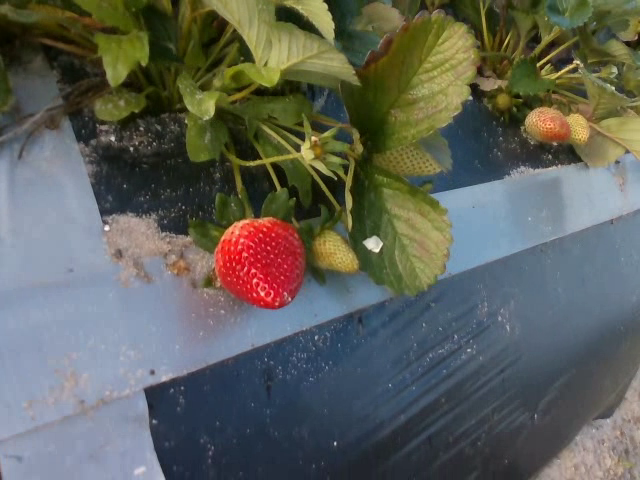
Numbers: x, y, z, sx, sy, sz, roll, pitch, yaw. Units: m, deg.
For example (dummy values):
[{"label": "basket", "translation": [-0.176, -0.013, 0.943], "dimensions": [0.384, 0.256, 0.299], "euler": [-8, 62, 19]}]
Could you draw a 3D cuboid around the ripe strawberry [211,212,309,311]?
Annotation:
[{"label": "ripe strawberry", "translation": [-0.010, 0.006, 0.120], "dimensions": [0.023, 0.020, 0.026], "euler": [-8, 41, -15]}]
